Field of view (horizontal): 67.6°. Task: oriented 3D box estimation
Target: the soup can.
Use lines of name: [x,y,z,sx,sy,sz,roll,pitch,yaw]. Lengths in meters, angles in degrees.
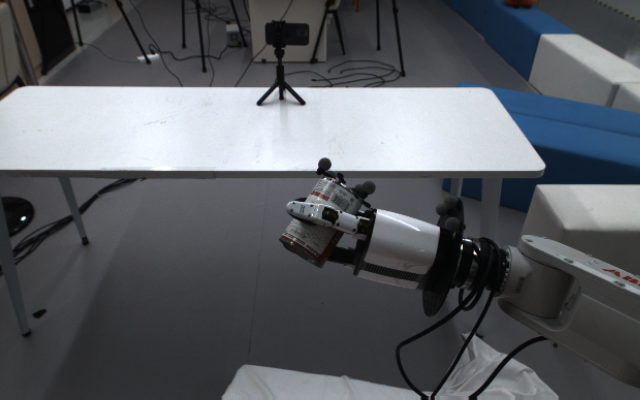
soup can: [0.002,0.028,0.635,0.067,0.067,0.101,27,76,31]
